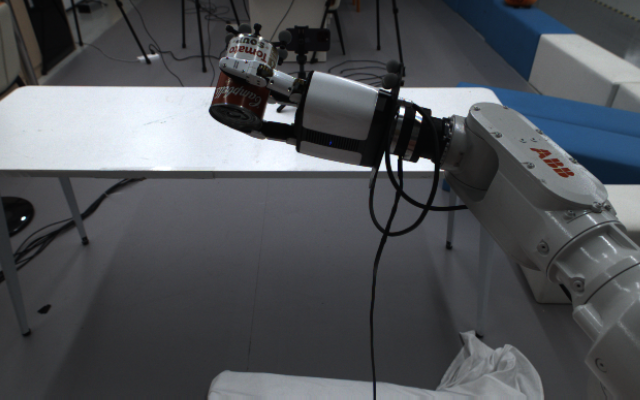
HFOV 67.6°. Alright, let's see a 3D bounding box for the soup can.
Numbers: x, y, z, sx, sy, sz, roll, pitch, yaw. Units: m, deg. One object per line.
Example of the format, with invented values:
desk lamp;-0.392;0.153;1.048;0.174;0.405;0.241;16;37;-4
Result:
soup can;-0.095;-0.148;0.615;0.067;0.067;0.101;9;74;9
